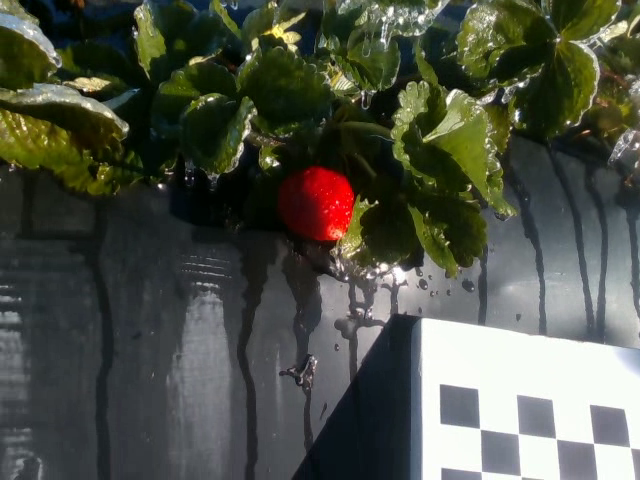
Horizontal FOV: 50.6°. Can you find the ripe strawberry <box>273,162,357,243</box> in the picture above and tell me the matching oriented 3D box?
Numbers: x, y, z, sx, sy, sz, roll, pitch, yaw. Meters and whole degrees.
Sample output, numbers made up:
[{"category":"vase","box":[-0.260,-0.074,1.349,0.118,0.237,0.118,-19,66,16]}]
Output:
[{"category":"ripe strawberry","box":[0.001,-0.015,0.325,0.041,0.047,0.053,4,25,-11]}]
